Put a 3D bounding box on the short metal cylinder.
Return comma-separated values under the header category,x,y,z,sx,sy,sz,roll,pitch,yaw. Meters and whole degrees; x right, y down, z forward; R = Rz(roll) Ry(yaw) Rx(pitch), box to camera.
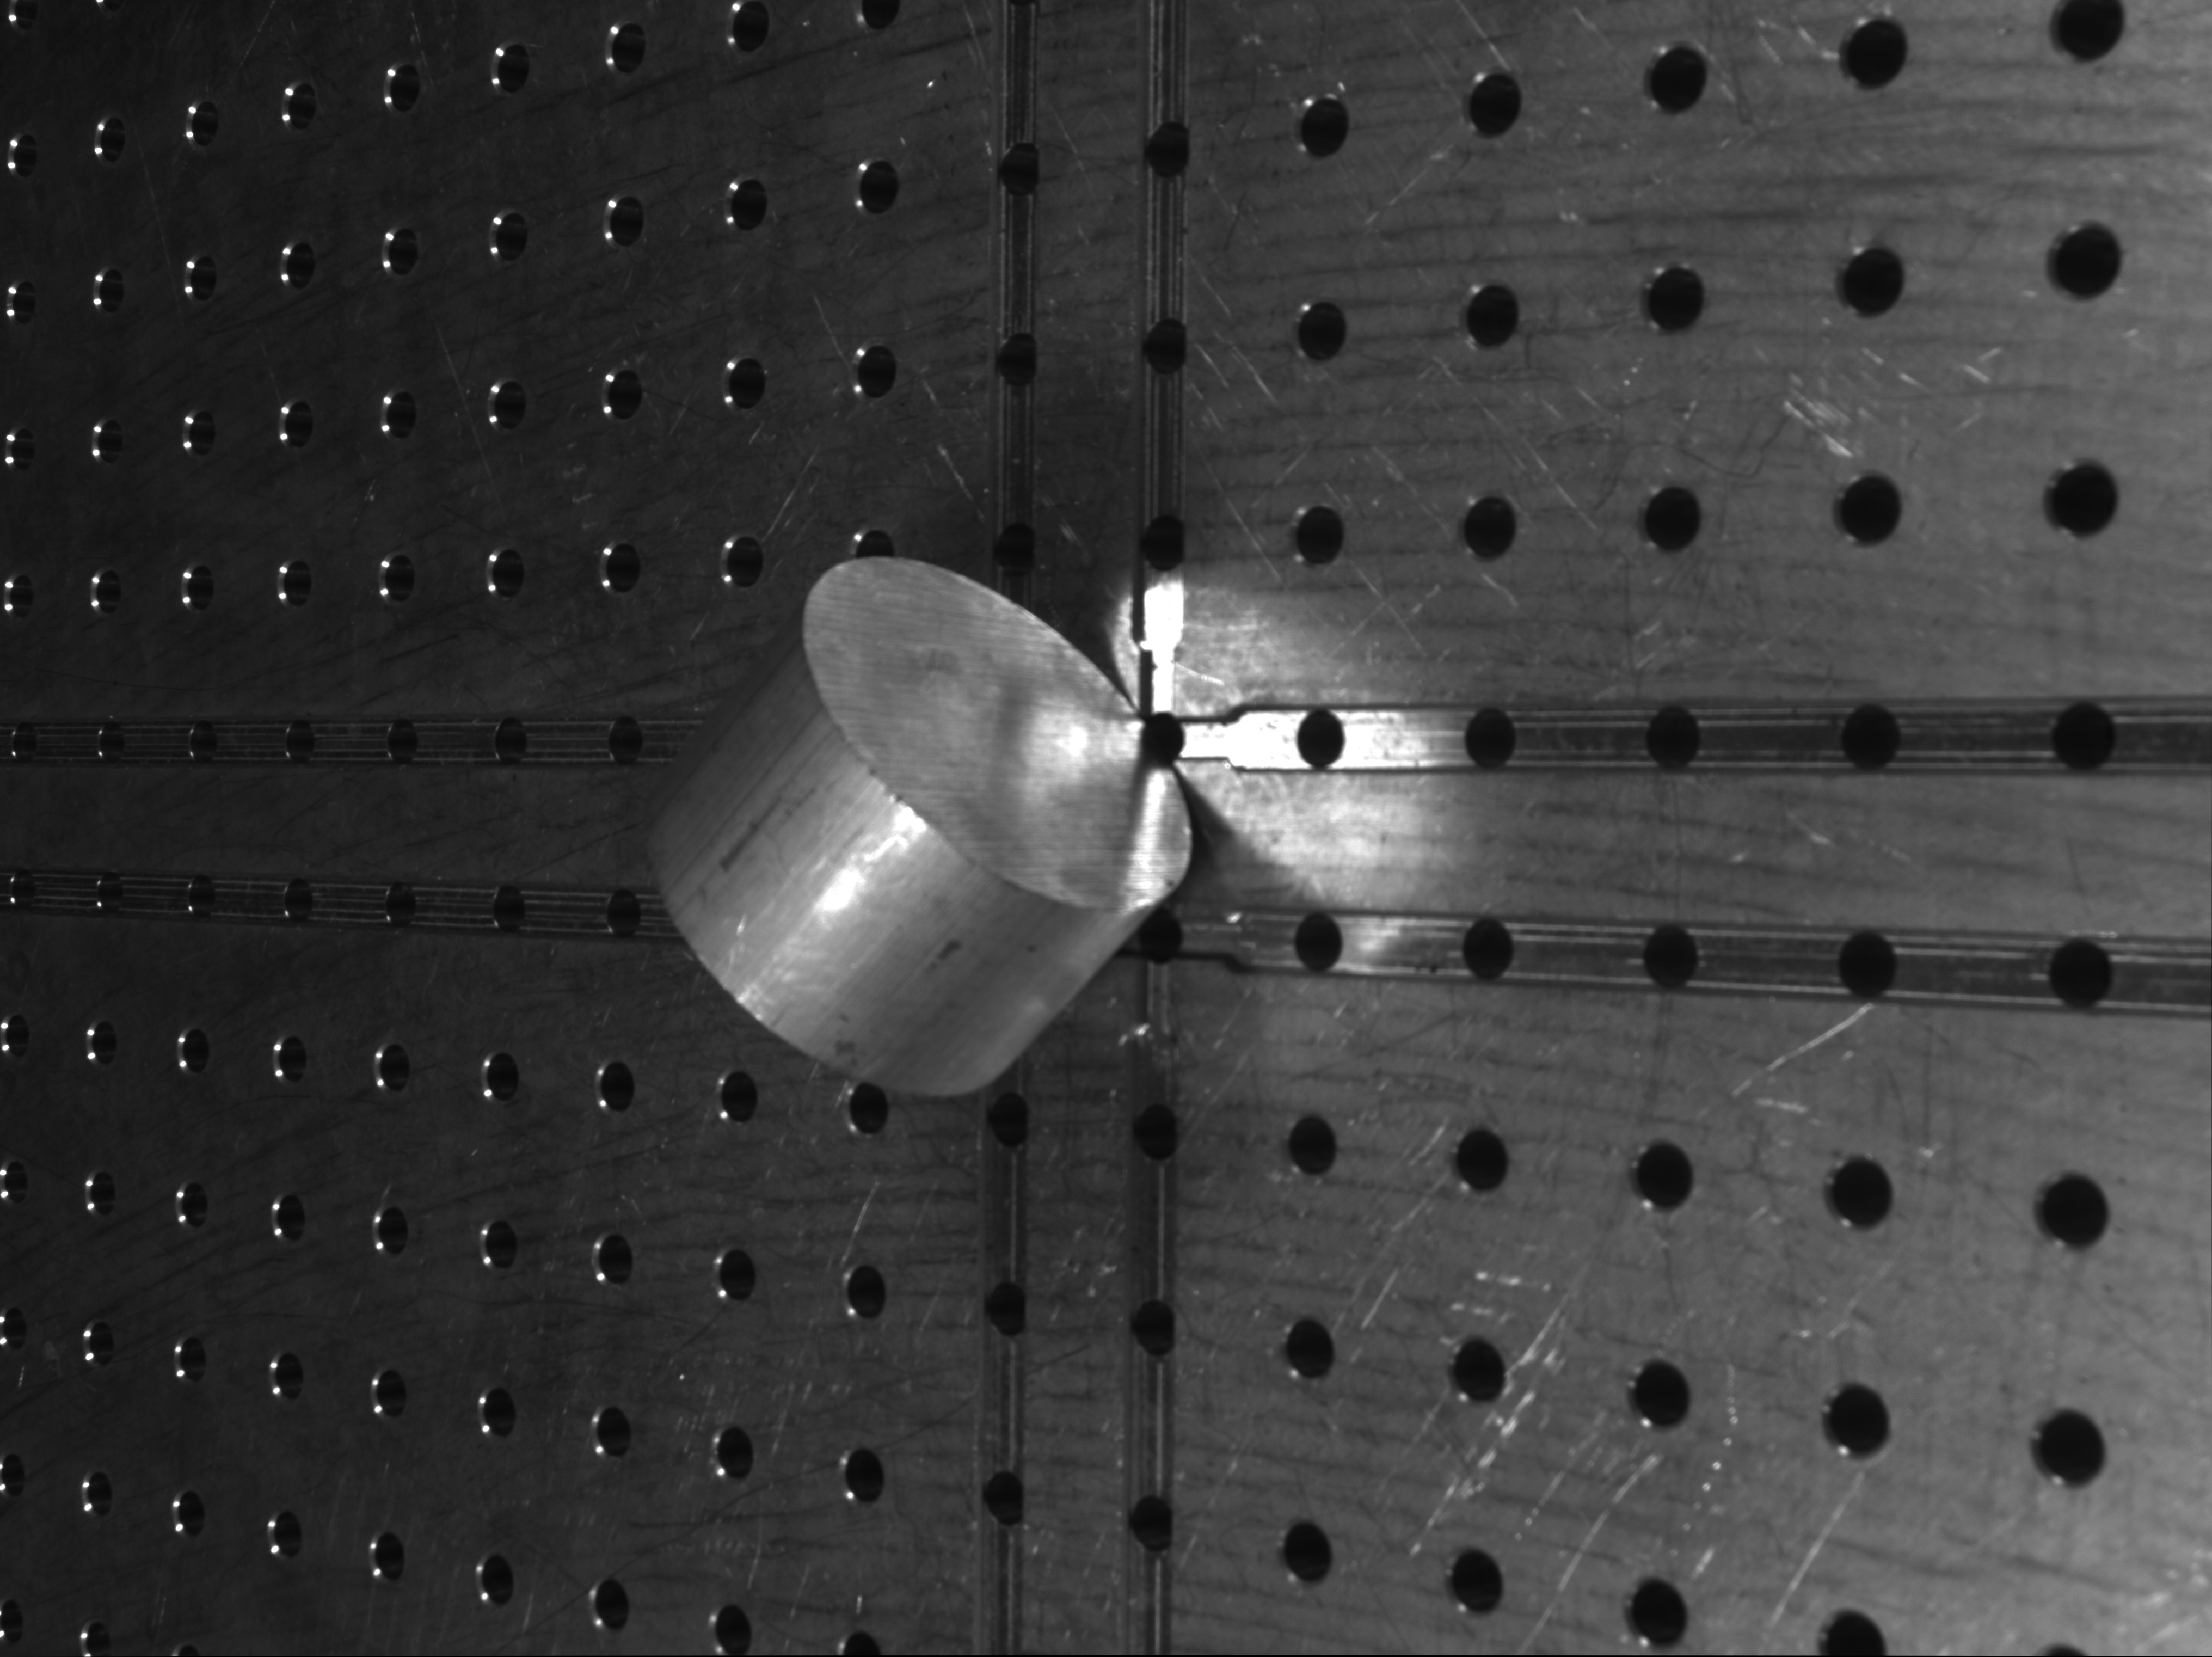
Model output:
category,x,y,z,sx,sy,sz,roll,pitch,yaw
short metal cylinder,-0.036,0.000,0.632,0.050,0.080,0.080,-48,62,29
